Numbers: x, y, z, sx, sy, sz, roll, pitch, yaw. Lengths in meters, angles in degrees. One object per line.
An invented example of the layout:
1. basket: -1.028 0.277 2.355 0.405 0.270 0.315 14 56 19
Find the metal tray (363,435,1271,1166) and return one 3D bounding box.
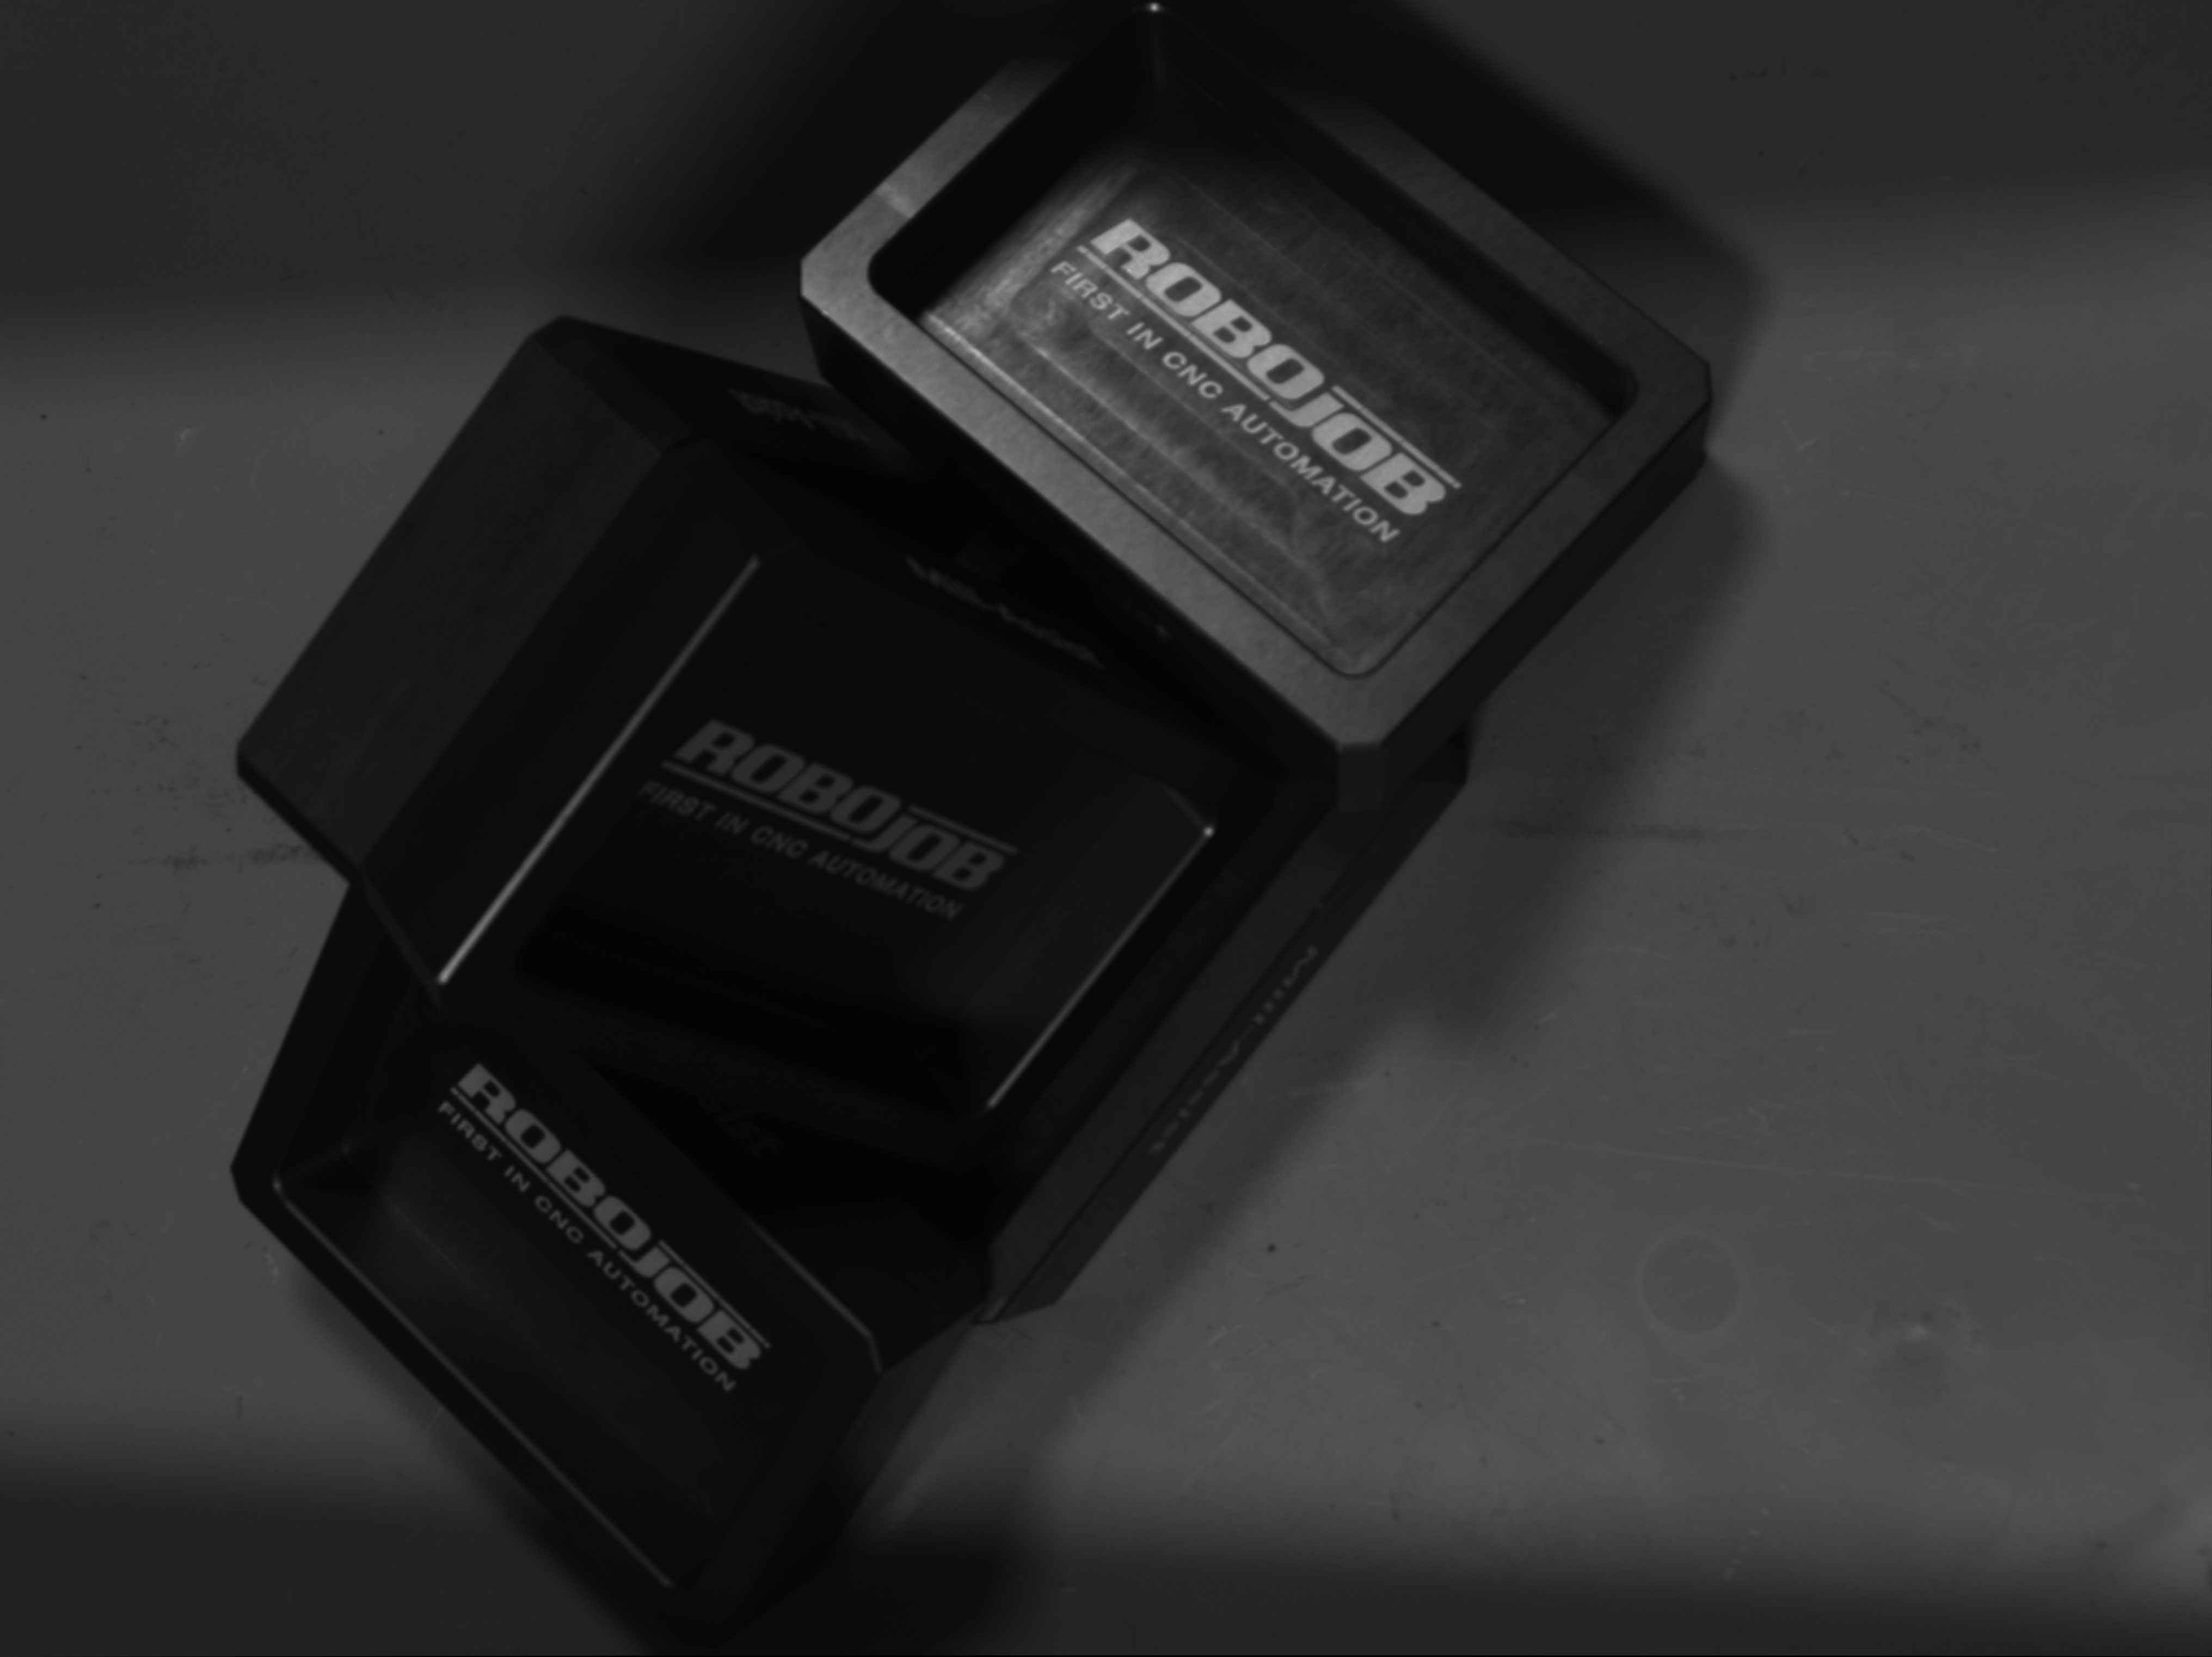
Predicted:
1. metal tray: -0.043 0.000 0.590 0.090 0.130 0.030 -52 51 12

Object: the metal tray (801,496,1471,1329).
1. metal tray: -0.010 0.011 0.643 0.090 0.030 0.130 41 103 15

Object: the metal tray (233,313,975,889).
1. metal tray: -0.078 -0.034 0.614 0.030 0.130 0.090 42 103 16

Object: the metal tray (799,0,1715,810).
1. metal tray: 0.024 -0.077 0.613 0.130 0.030 0.090 41 77 15

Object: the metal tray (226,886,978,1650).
1. metal tray: -0.093 0.072 0.655 0.130 0.030 0.090 41 127 15
